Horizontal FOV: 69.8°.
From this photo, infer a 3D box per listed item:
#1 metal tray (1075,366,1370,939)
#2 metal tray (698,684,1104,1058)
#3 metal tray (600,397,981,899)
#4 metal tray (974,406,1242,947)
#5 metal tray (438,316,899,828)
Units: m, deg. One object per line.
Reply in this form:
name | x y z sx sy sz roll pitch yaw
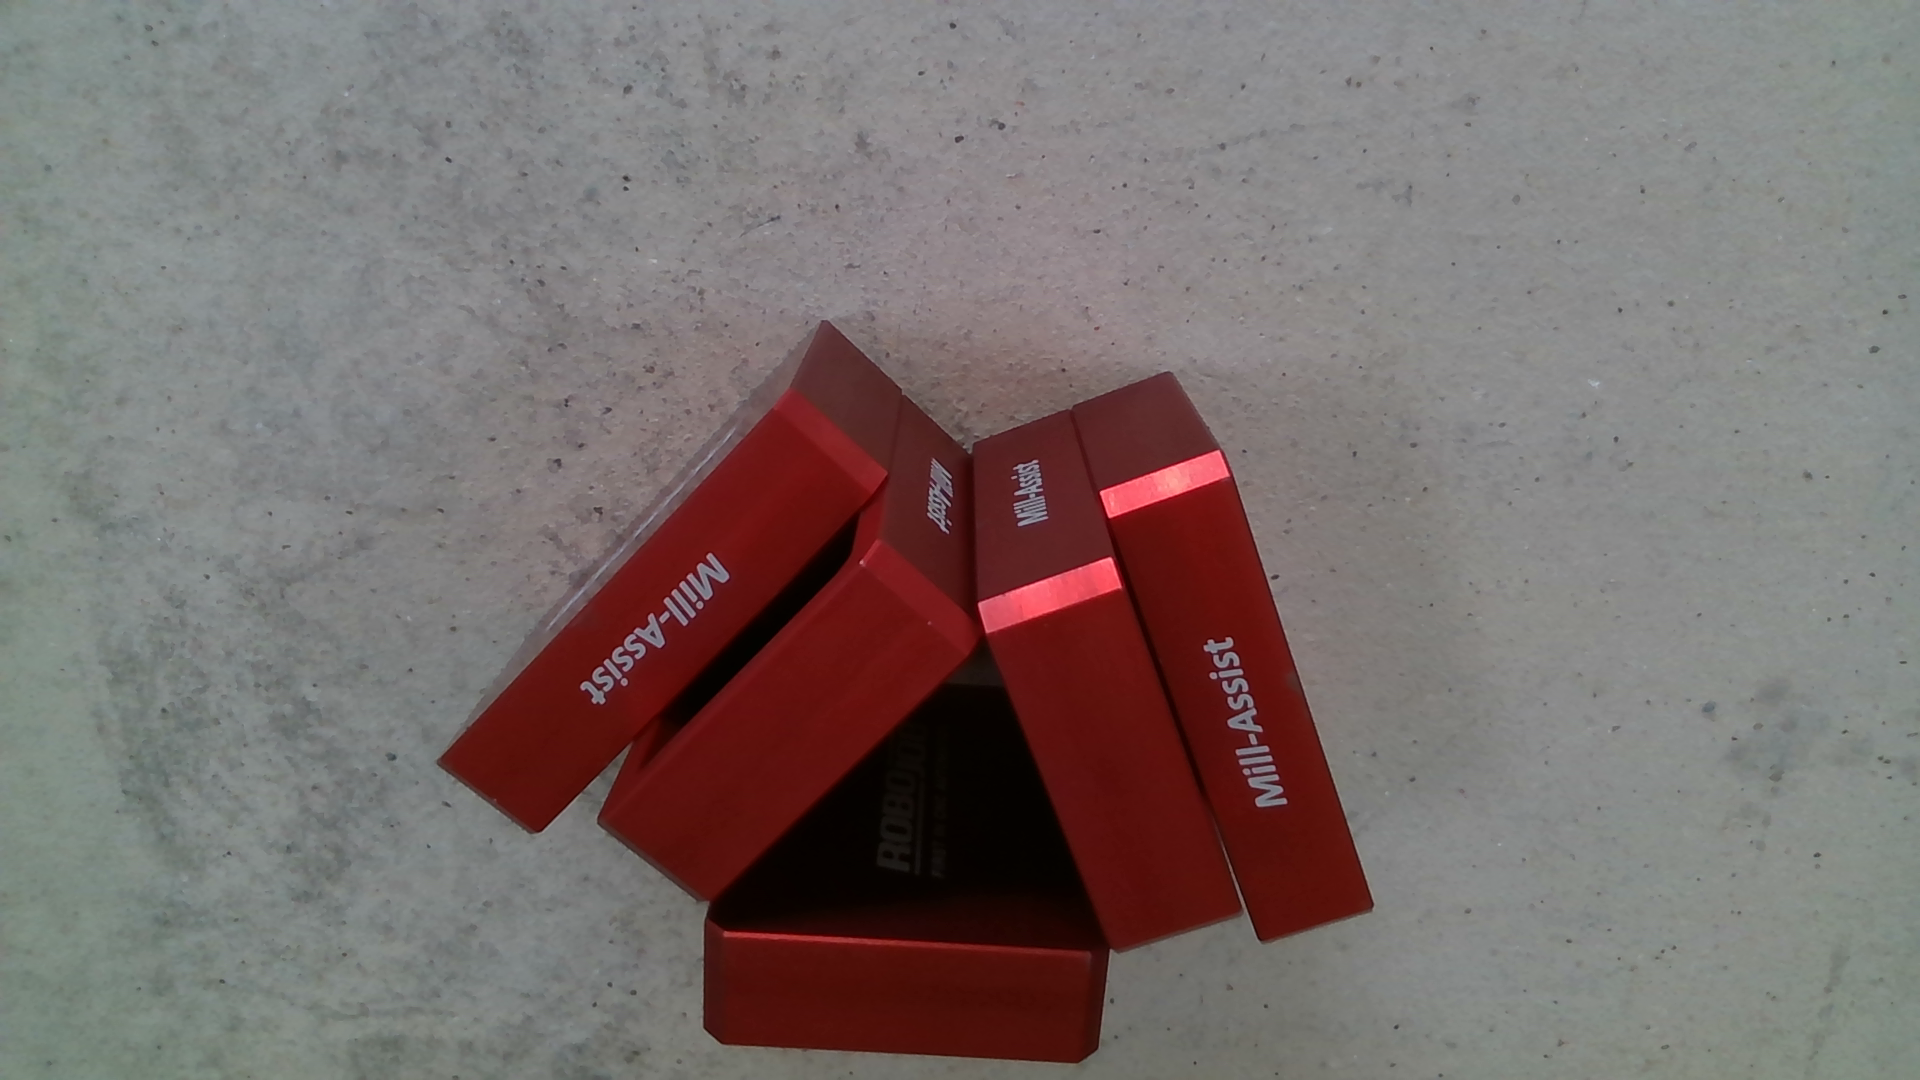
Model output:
metal tray | 0.068 0.027 0.368 0.030 0.090 0.130 -19 109 7
metal tray | -0.013 0.079 0.366 0.090 0.130 0.030 4 110 -1
metal tray | -0.037 0.019 0.344 0.030 0.130 0.090 42 105 -14
metal tray | 0.033 0.027 0.347 0.030 0.130 0.090 -19 109 7
metal tray | -0.072 0.005 0.360 0.030 0.090 0.130 42 105 -13
